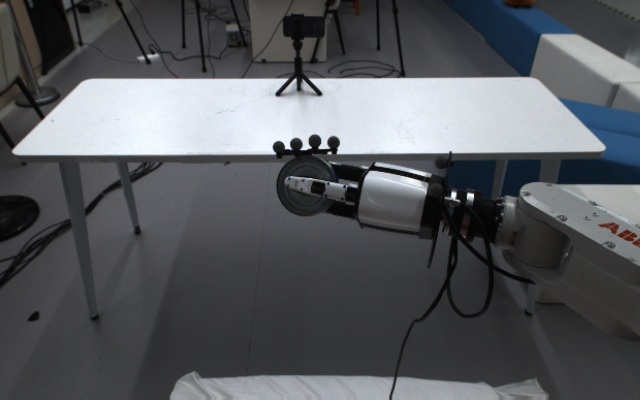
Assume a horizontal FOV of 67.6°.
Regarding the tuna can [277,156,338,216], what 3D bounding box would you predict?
[{"bbox_3d":[-0.014,-0.016,0.682,0.085,0.085,0.034,10,3,11],"label":"tuna can"}]
